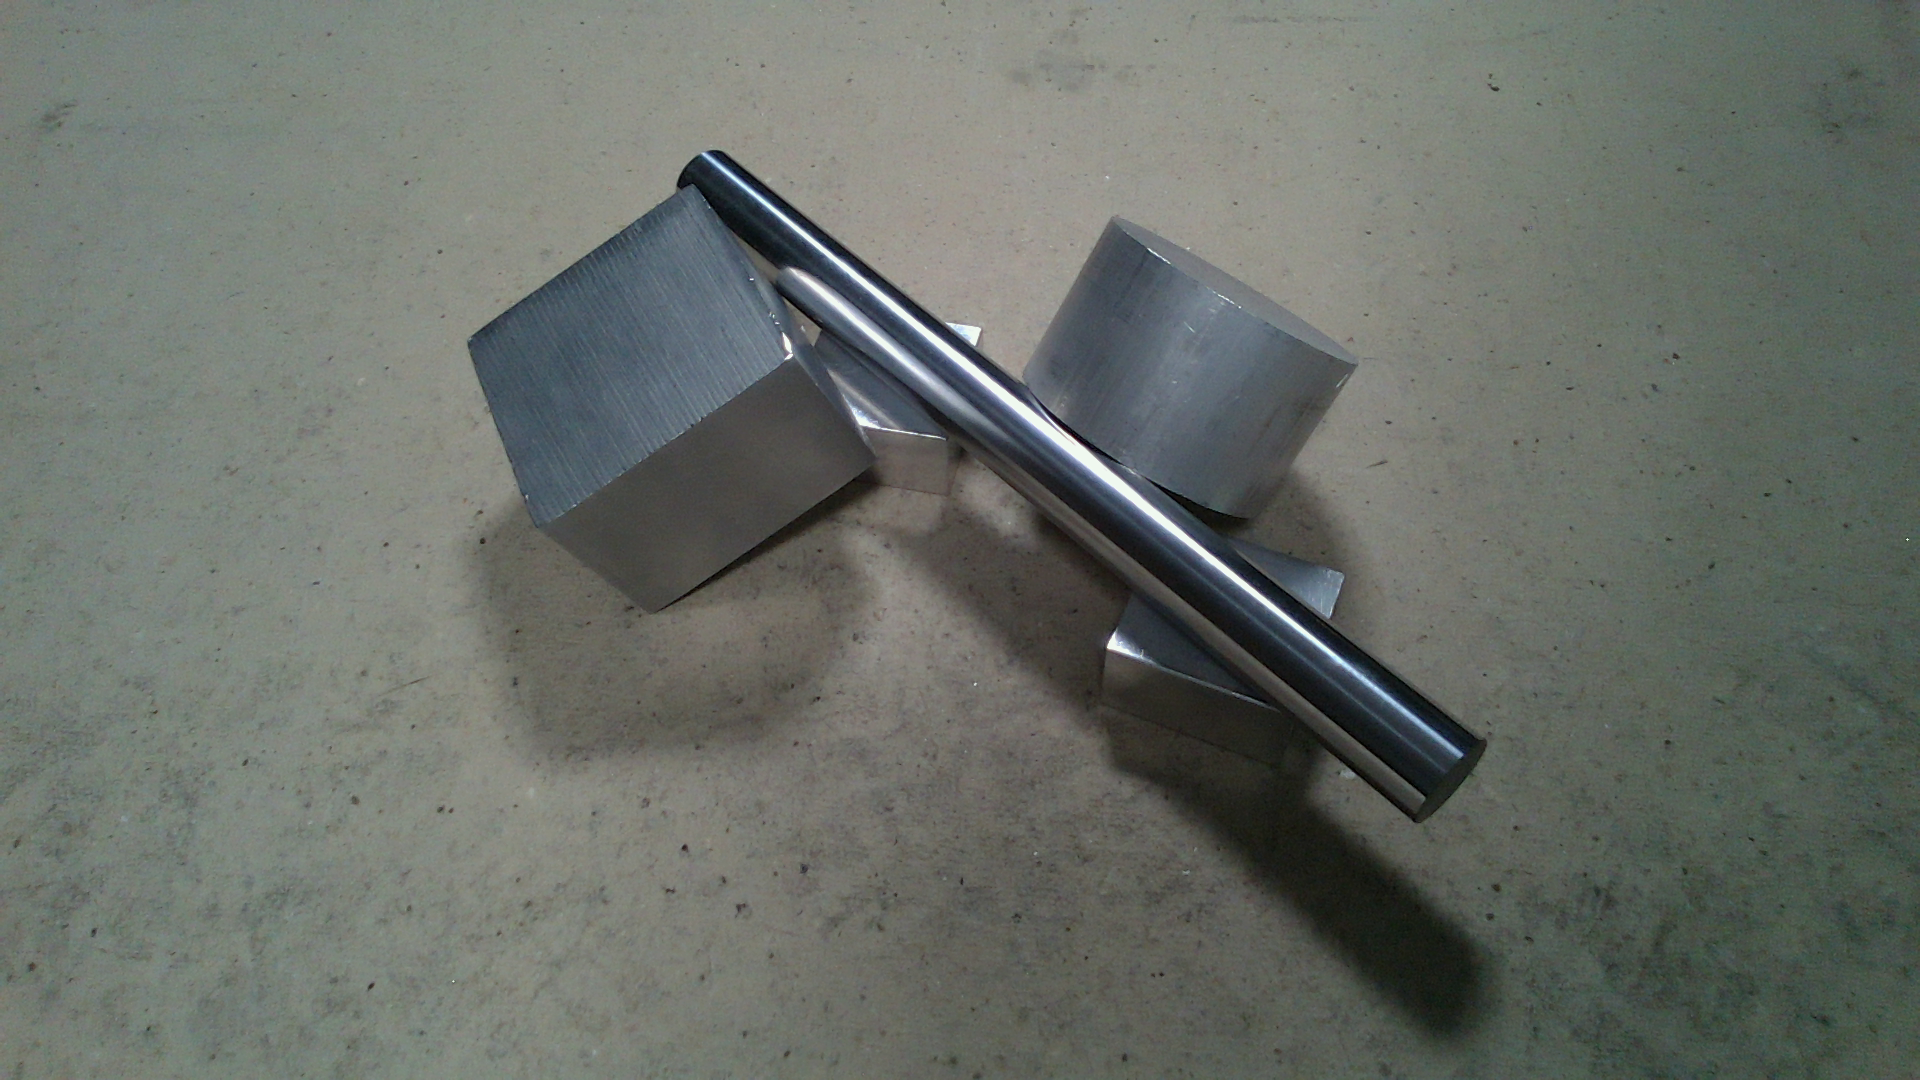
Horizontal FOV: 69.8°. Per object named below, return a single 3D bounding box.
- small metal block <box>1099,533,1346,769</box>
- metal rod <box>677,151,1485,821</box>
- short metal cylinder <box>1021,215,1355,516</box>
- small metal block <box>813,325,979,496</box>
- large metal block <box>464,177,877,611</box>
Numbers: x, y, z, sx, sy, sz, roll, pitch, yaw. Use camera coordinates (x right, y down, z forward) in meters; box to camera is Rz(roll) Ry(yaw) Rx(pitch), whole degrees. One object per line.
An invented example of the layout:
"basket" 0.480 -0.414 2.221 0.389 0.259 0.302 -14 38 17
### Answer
"small metal block" 0.071 0.026 0.370 0.050 0.025 0.050 19 53 16
"metal rod" 0.014 -0.032 0.386 0.025 0.025 0.299 -34 57 -25
"short metal cylinder" 0.064 -0.050 0.391 0.080 0.050 0.080 28 18 -10
"small metal block" -0.024 -0.044 0.429 0.050 0.025 0.050 9 51 8
"large metal block" -0.082 -0.041 0.389 0.080 0.050 0.080 -34 55 3
